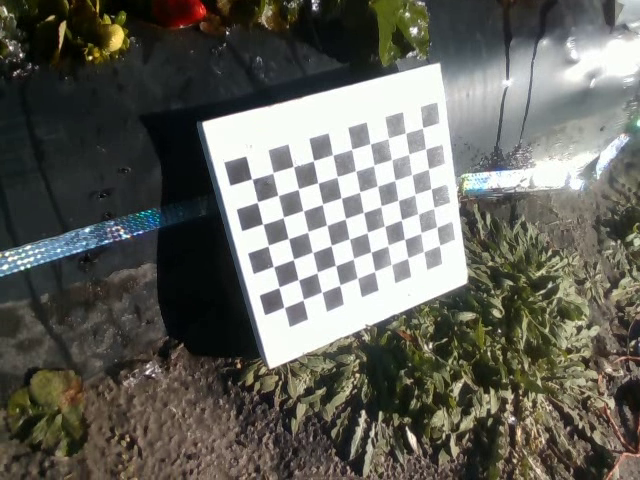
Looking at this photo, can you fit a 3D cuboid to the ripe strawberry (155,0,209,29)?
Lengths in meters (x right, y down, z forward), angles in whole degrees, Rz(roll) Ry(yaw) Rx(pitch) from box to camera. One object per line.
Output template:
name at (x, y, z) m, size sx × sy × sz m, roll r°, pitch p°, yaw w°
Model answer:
ripe strawberry at (-0.107, -0.195, 0.673) m, size 0.053 × 0.040 × 0.042 m, roll 23°, pitch -19°, yaw 30°
